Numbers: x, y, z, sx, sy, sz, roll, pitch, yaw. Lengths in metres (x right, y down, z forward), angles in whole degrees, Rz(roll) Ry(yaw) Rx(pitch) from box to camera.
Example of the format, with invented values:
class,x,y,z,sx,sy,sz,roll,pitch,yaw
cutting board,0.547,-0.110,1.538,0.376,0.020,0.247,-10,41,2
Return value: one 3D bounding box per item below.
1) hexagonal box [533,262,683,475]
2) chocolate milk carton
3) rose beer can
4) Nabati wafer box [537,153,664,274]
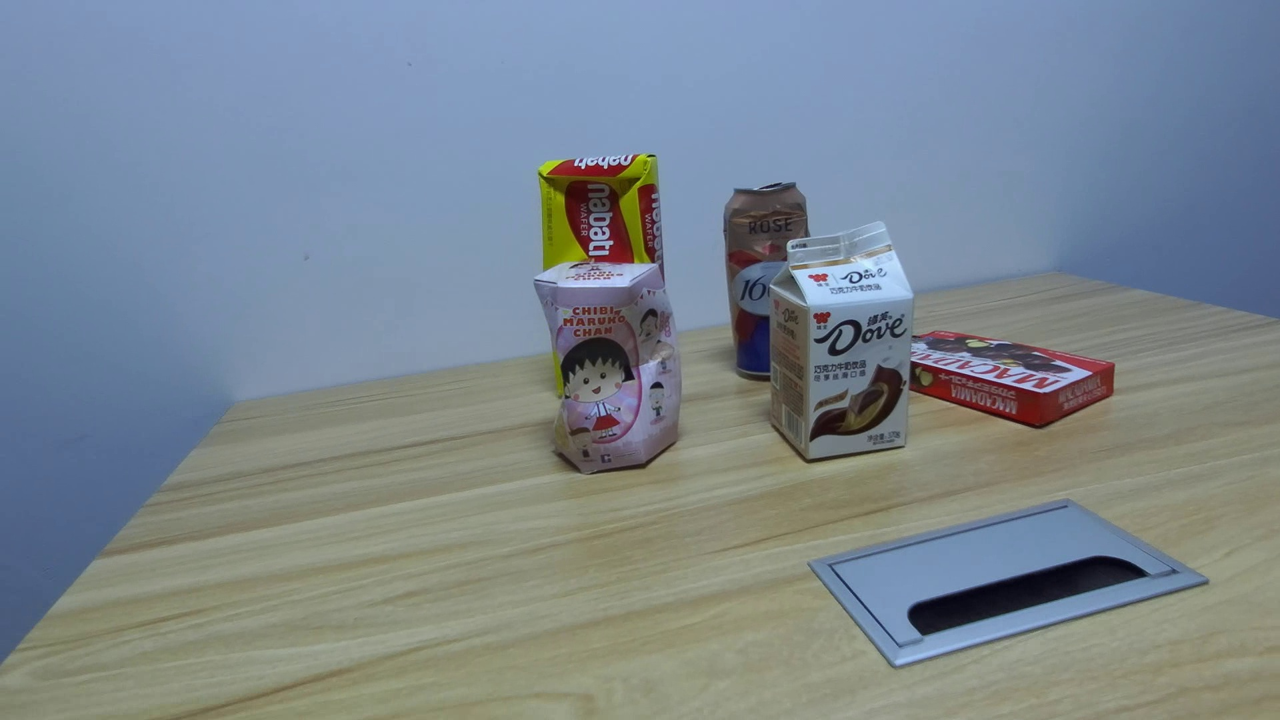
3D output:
class,x,y,z,sx,sy,sz,roll,pitch,yaw
hexagonal box,-0.027,0.003,0.496,0.089,0.134,0.093,-18,22,-33
chocolate milk carton,0.135,-0.016,0.482,0.075,0.148,0.074,-6,18,-9
rose beer can,0.115,-0.070,0.623,0.075,0.167,0.065,-2,18,19
Nabati wafer box,-0.029,-0.067,0.600,0.096,0.203,0.042,2,19,16
